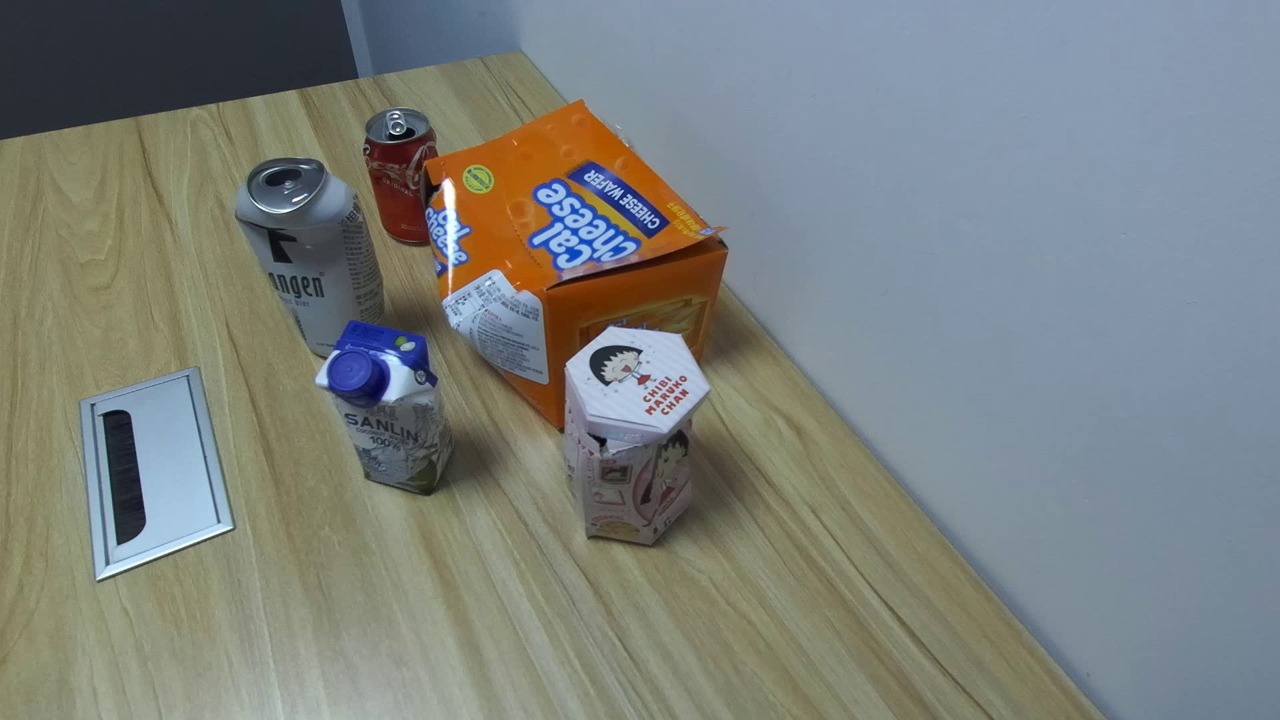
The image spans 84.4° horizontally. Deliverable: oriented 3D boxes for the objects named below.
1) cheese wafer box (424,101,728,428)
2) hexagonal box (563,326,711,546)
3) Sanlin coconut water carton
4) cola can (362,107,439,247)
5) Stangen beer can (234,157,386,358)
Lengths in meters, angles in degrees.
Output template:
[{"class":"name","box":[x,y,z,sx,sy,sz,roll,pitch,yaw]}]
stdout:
[{"class":"cheese wafer box","box":[-0.069,-0.082,0.577,0.192,0.145,0.218,-26,57,-24]},{"class":"hexagonal box","box":[-0.007,0.054,0.472,0.091,0.134,0.090,-6,47,-9]},{"class":"Sanlin coconut water carton","box":[-0.168,0.033,0.473,0.078,0.142,0.057,13,55,6]},{"class":"cola can","box":[-0.216,-0.170,0.658,0.066,0.117,0.066,15,49,8]},{"class":"Stangen beer can","box":[-0.244,-0.072,0.537,0.077,0.162,0.065,-29,59,-25]}]
